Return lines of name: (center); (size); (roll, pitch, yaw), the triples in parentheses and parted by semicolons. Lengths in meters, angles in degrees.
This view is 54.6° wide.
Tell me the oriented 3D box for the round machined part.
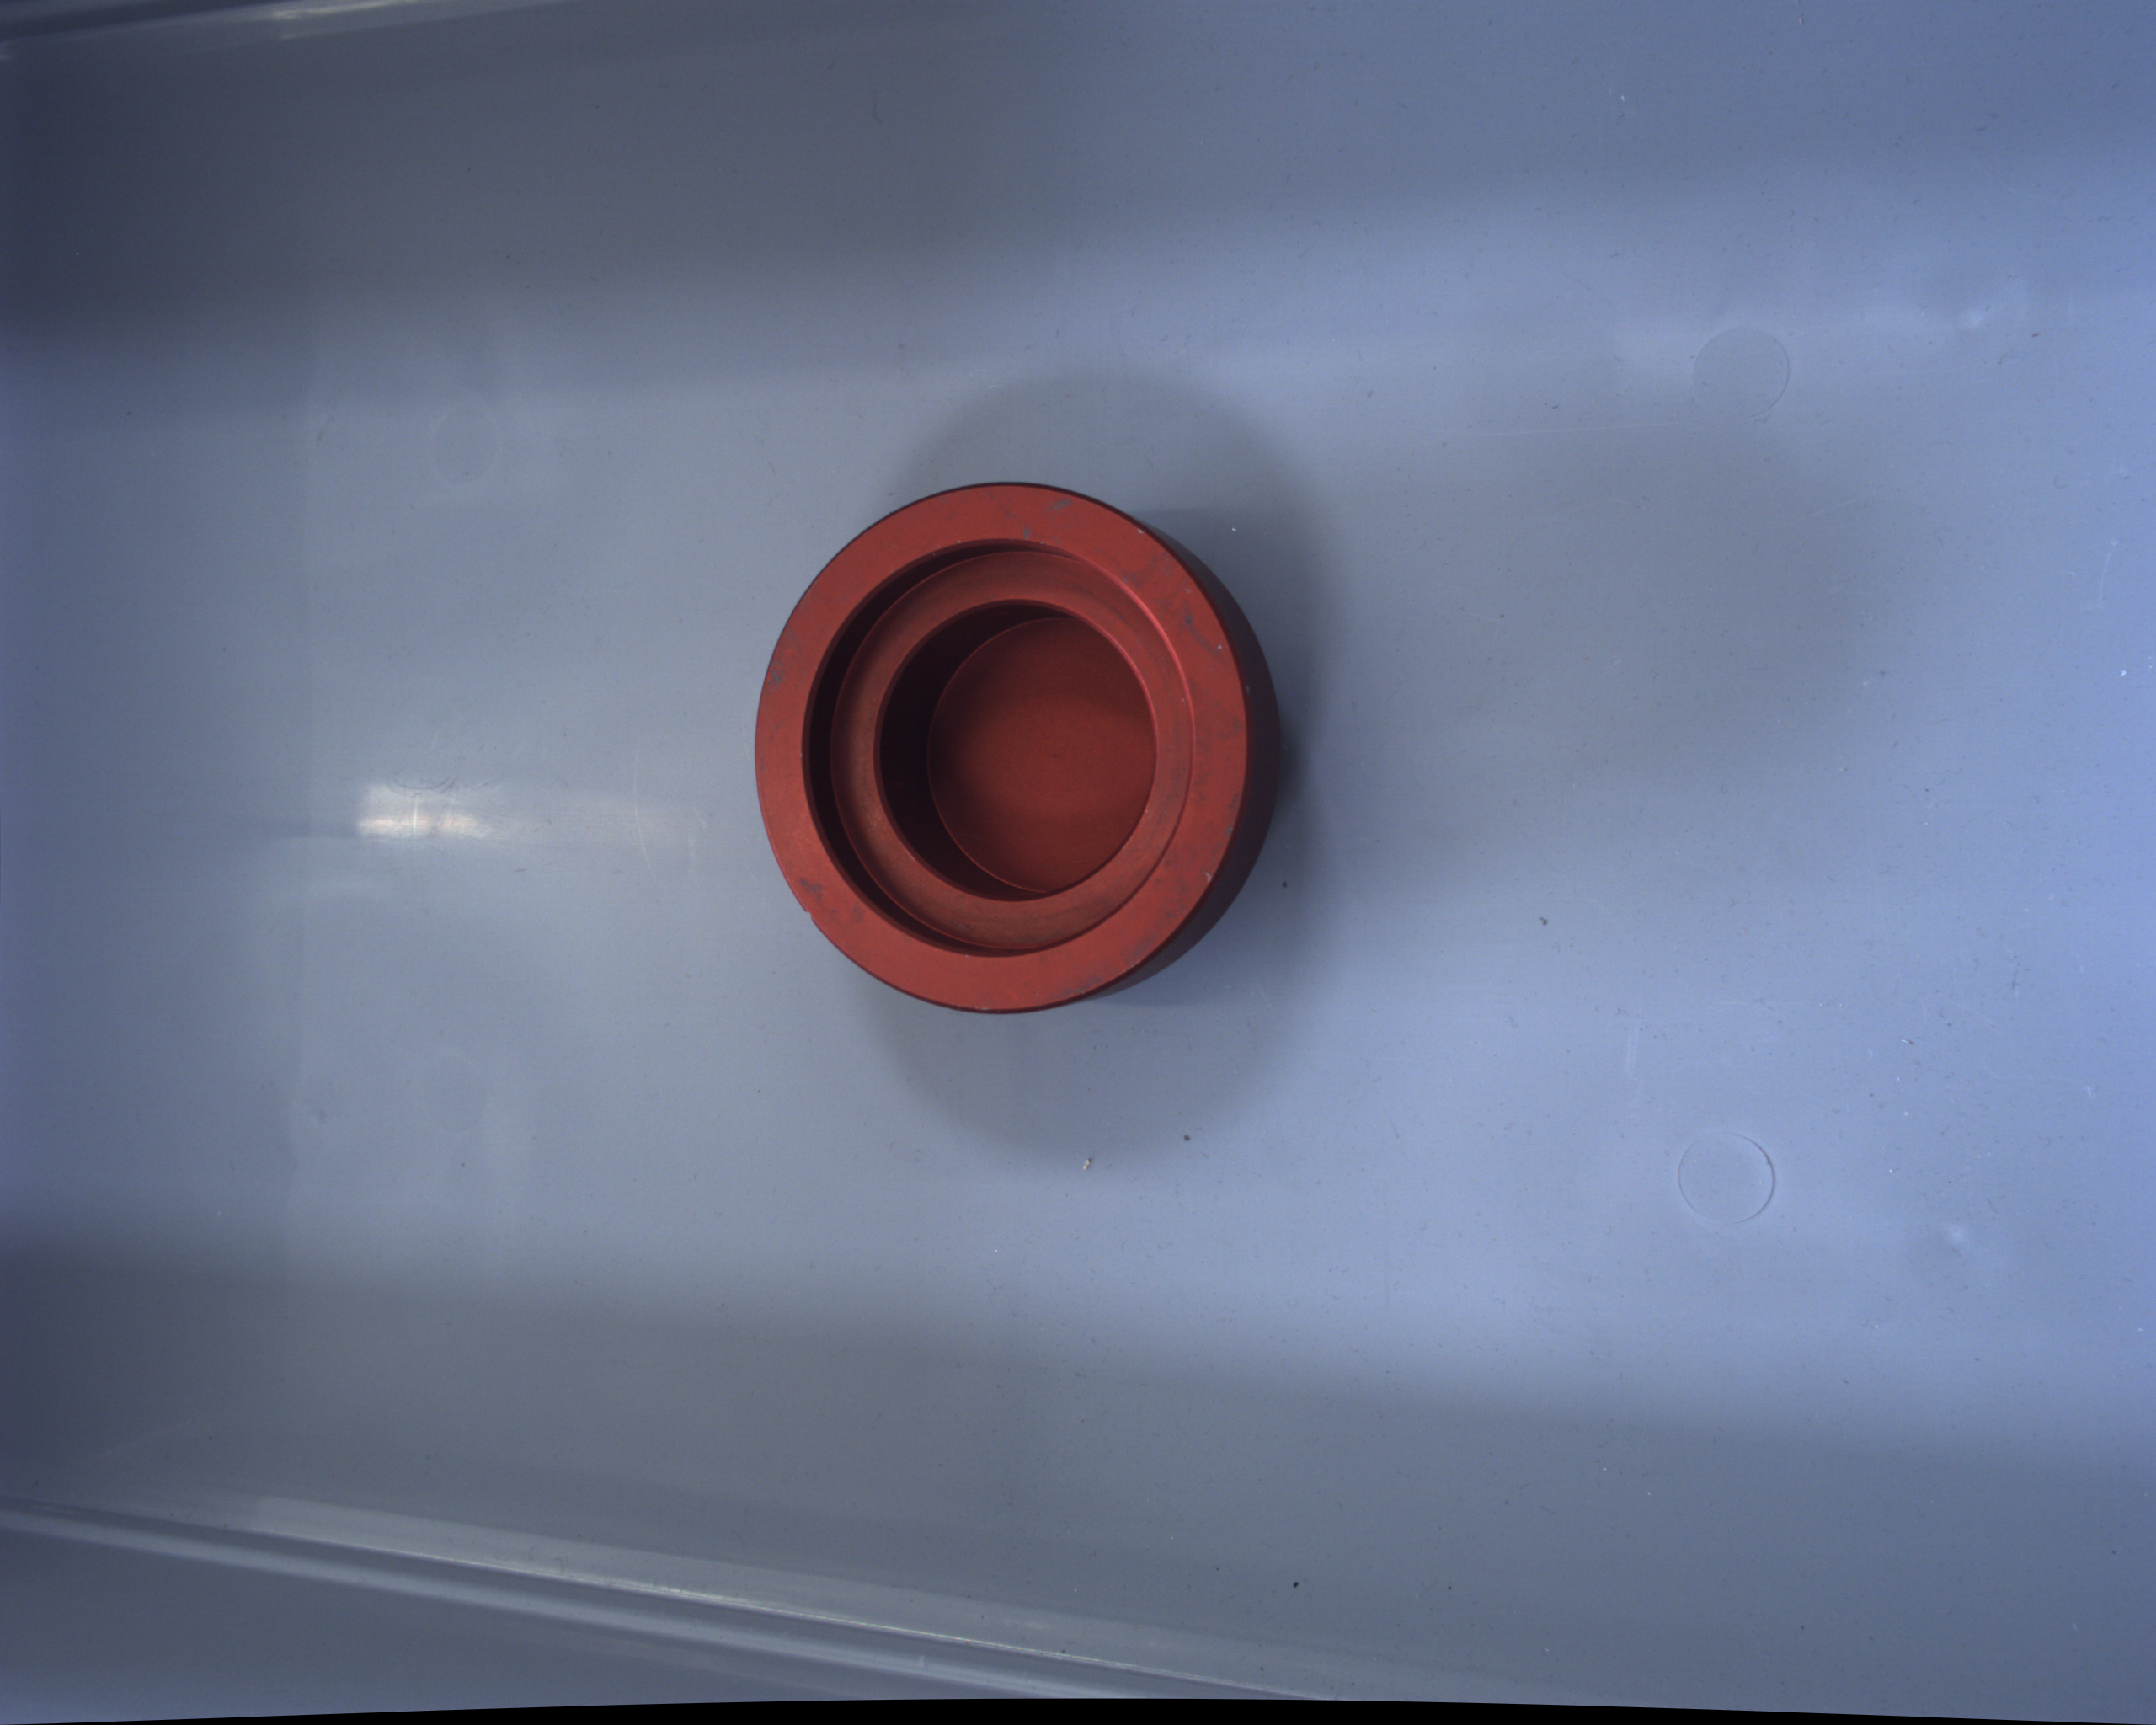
round machined part: (-0.009, -0.021, 0.402); (0.098, 0.042, 0.097); (0, 90, 20)
